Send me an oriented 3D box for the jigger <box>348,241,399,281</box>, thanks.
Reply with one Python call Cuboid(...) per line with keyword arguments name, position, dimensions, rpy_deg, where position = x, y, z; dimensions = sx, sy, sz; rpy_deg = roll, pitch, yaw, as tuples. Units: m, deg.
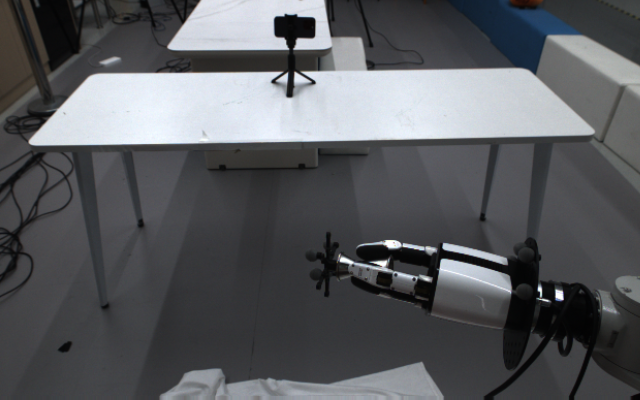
Cuboid(name="jigger", position=(0.067, 0.085, 0.635), dimensions=(0.071, 0.043, 0.043), rpy_deg=(3, 34, 18))
